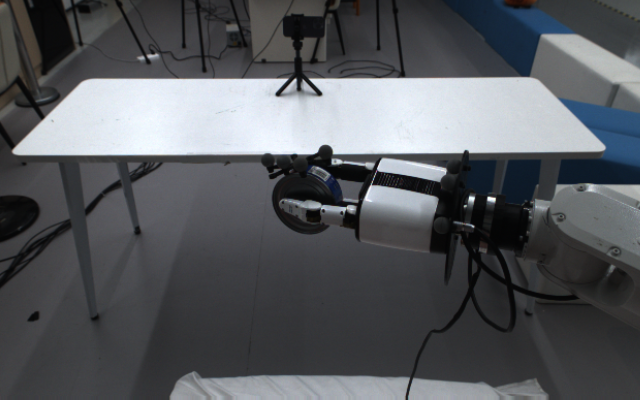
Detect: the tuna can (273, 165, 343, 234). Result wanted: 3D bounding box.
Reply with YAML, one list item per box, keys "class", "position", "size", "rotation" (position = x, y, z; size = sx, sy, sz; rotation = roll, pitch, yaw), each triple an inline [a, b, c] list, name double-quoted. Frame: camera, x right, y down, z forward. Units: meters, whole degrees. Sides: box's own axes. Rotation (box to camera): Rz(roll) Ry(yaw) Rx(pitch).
- class: "tuna can"
  position: [-0.013, 0.003, 0.614]
  size: [0.085, 0.085, 0.034]
  rotation: [13, 29, 15]
